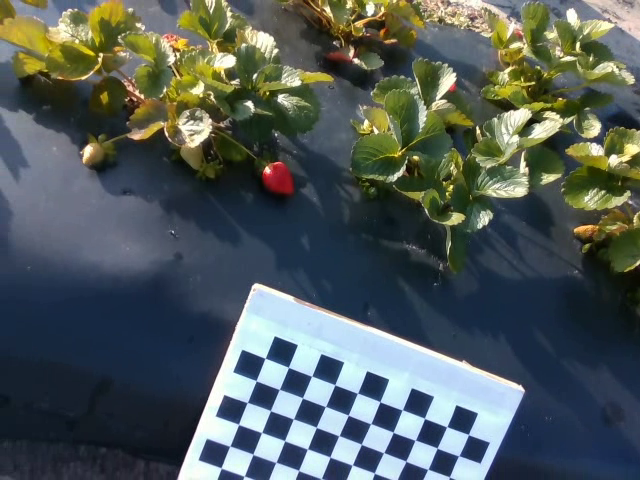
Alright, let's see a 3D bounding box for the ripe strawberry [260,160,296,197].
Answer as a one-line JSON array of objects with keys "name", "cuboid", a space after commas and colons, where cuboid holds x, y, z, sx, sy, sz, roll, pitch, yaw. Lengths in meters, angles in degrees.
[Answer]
[{"name": "ripe strawberry", "cuboid": [-0.037, -0.057, 0.593, 0.030, 0.045, 0.033, -38, -23, 4]}]
